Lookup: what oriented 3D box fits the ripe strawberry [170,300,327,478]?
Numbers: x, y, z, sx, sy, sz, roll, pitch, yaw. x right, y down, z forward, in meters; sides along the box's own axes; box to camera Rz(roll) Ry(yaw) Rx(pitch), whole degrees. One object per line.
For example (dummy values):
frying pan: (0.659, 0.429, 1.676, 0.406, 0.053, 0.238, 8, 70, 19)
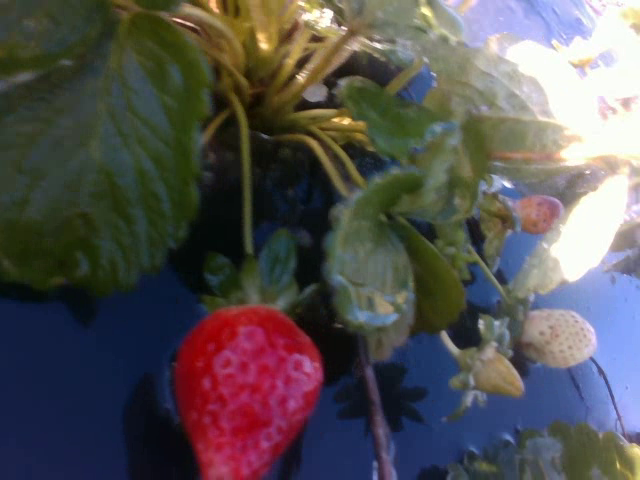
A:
ripe strawberry: (-0.014, 0.035, 0.120, 0.040, 0.047, 0.039, -19, -46, 39)
